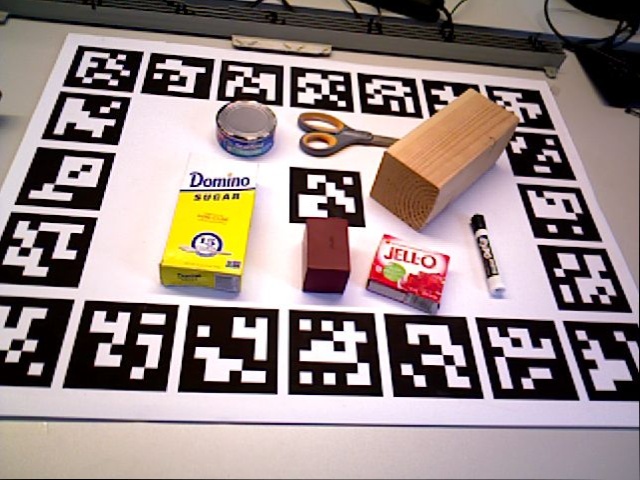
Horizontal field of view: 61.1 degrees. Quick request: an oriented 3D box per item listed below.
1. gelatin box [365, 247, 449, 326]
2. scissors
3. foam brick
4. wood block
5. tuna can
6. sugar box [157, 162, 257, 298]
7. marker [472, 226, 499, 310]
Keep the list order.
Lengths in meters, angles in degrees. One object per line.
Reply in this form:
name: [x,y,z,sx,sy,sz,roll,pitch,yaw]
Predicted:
gelatin box: [0.107,0.055,0.666,0.089,0.031,0.072,19,56,5]
scissors: [0.058,-0.137,0.800,0.202,0.016,0.086,9,55,0]
foam brick: [0.006,0.031,0.649,0.052,0.052,0.077,5,56,-5]
wood block: [0.179,-0.097,0.748,0.090,0.093,0.202,41,58,19]
tuna can: [-0.111,-0.150,0.769,0.085,0.034,0.084,4,56,-6]
sugar box: [-0.134,-0.016,0.671,0.092,0.046,0.173,8,55,-4]
marker: [0.213,0.033,0.702,0.019,0.020,0.119,5,57,-6]
